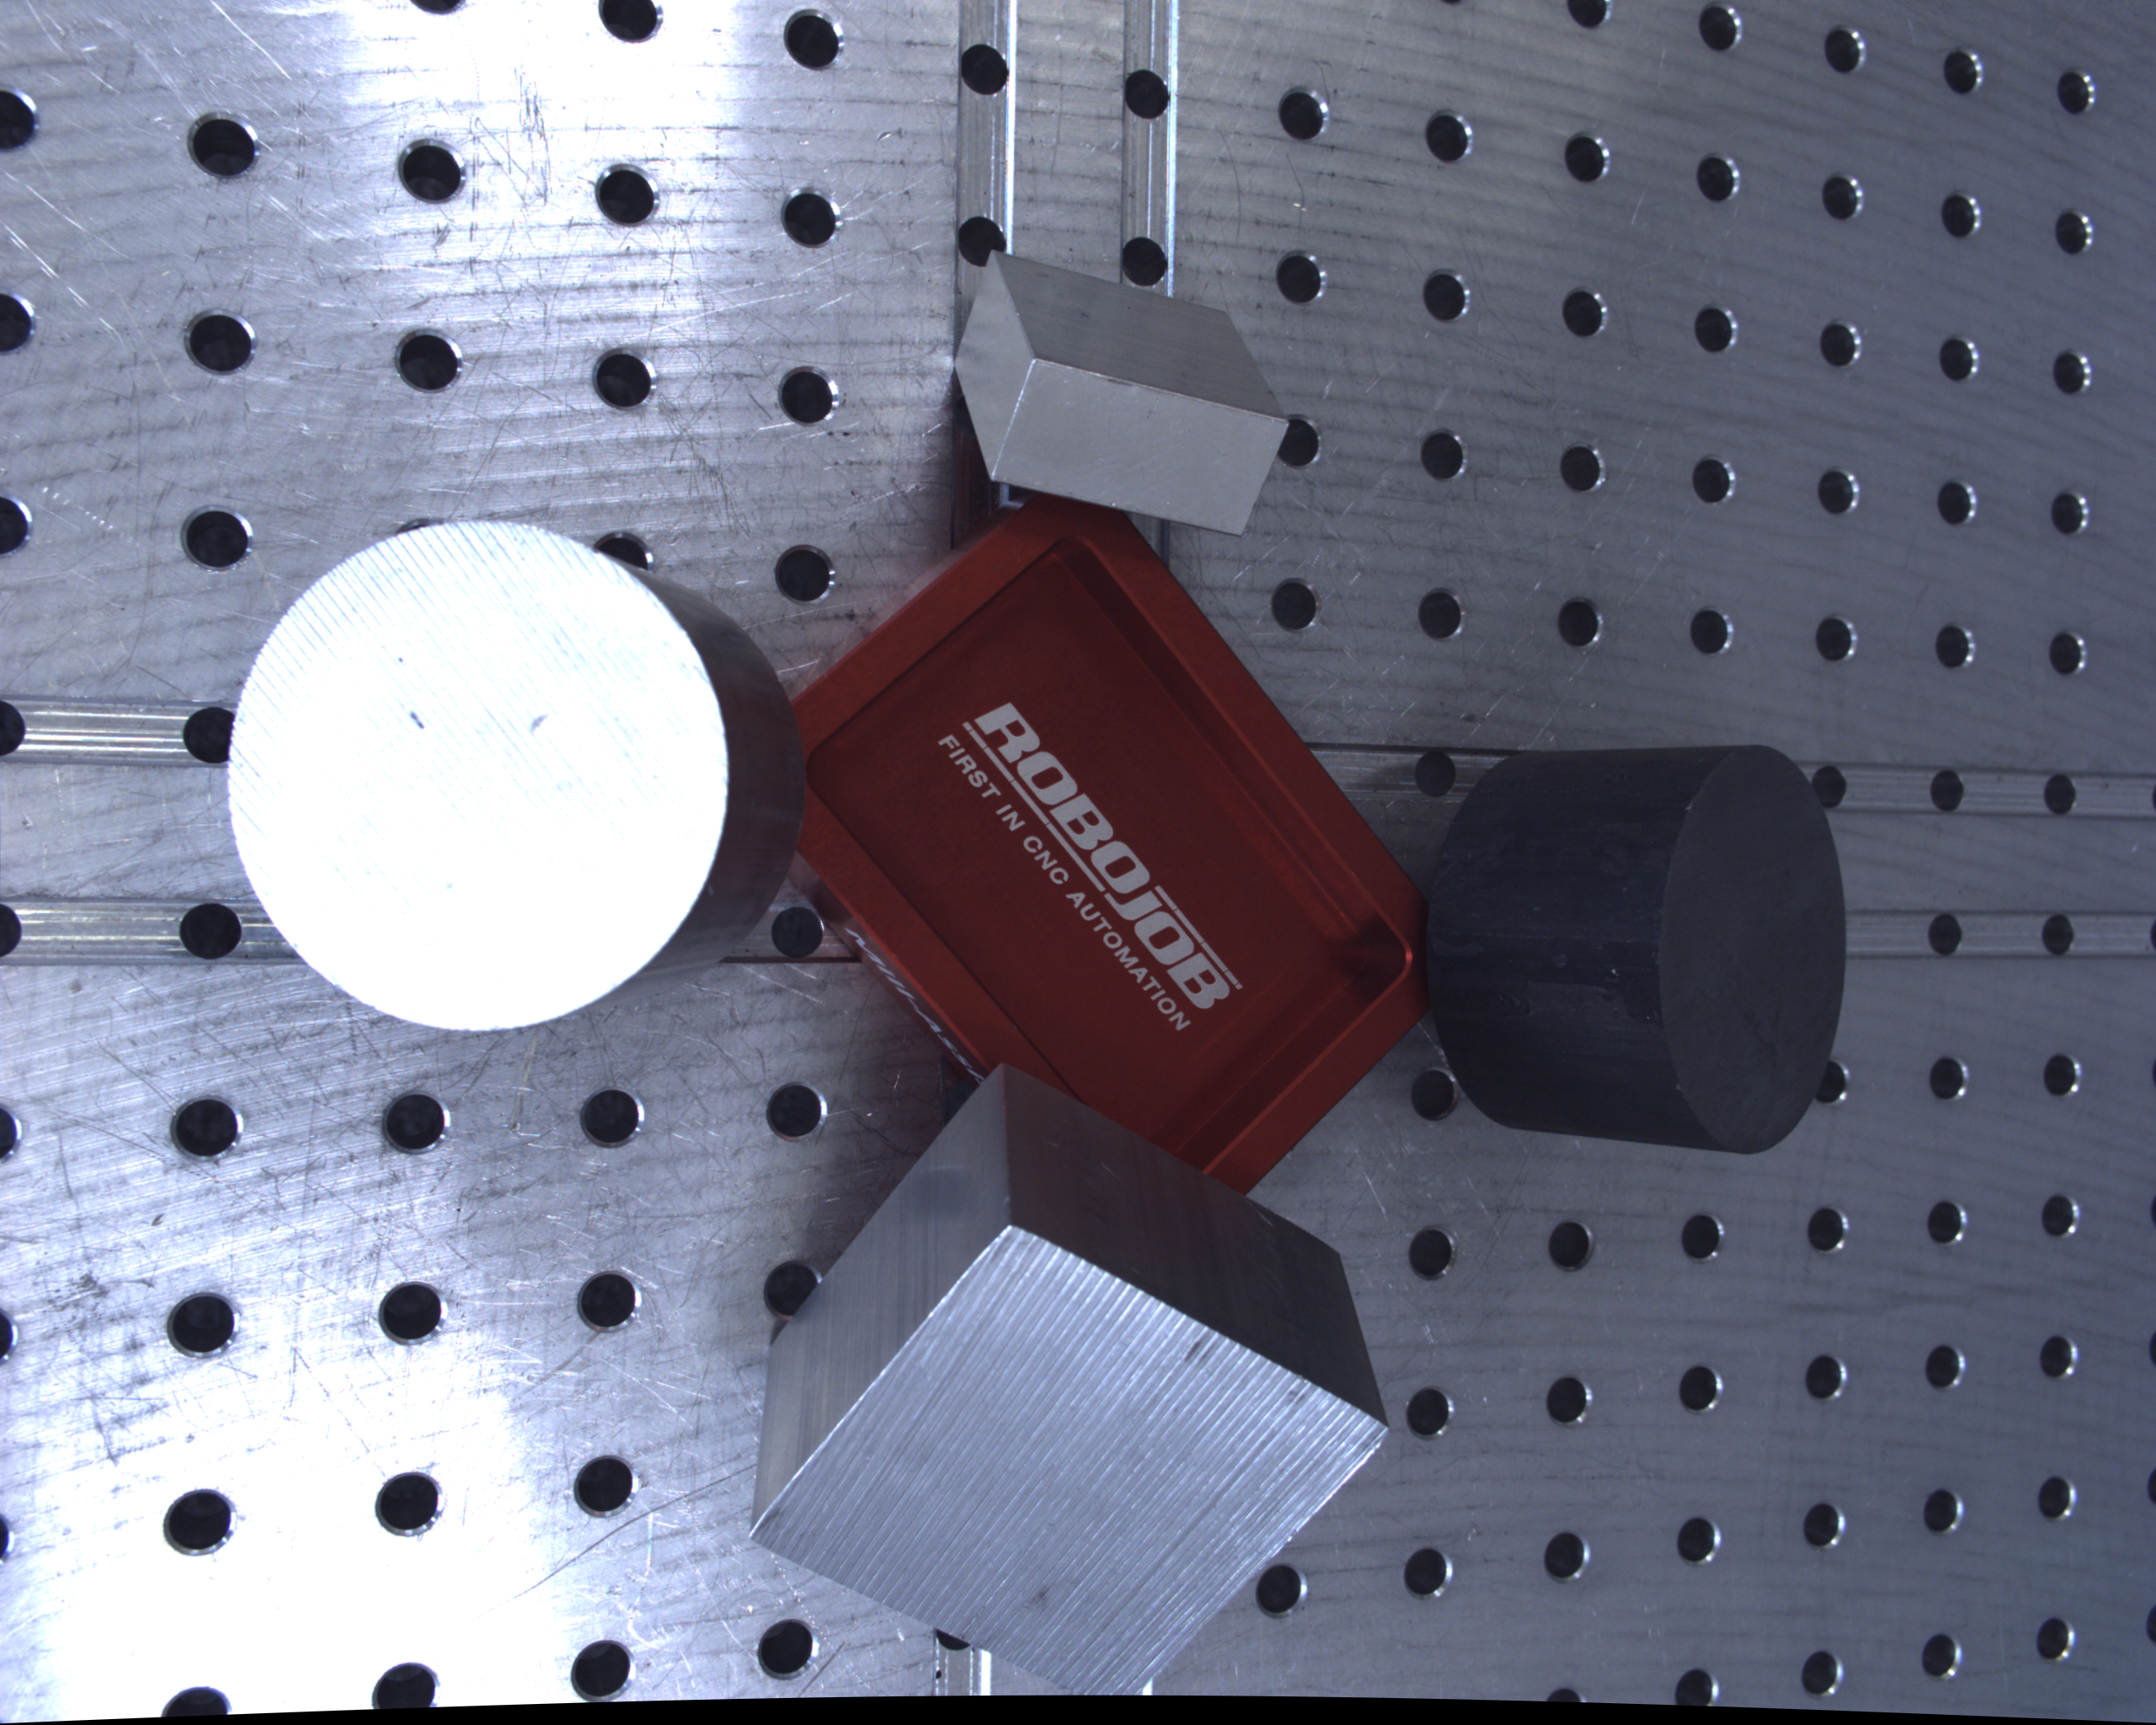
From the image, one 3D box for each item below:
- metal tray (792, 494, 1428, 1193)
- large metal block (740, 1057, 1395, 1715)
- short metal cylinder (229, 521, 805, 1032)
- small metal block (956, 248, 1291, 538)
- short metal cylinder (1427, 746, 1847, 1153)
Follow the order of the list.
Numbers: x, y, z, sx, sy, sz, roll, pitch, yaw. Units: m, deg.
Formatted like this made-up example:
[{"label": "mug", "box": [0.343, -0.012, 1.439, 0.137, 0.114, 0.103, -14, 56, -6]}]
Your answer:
[{"label": "metal tray", "box": [0.004, 0.001, 0.411, 0.090, 0.030, 0.130, -43, 104, -15]}, {"label": "large metal block", "box": [-0.003, 0.096, 0.380, 0.080, 0.050, 0.080, 33, 110, -18]}, {"label": "short metal cylinder", "box": [-0.091, -0.014, 0.350, 0.080, 0.050, 0.079, 0, 91, 5]}, {"label": "small metal block", "box": [0.007, -0.090, 0.399, 0.050, 0.050, 0.025, 10, 125, -20]}, {"label": "short metal cylinder", "box": [0.115, 0.017, 0.425, 0.081, 0.050, 0.079, -1, 91, -46]}]
